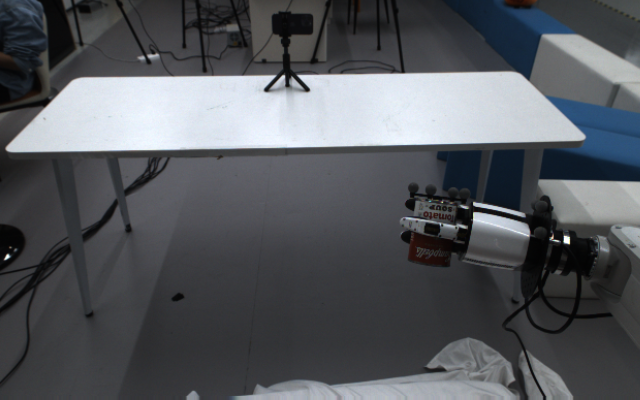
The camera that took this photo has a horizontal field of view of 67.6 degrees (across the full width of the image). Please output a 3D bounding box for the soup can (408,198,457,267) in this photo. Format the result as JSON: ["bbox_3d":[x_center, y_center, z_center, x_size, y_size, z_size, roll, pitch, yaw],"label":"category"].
[{"bbox_3d":[0.180,0.049,0.769,0.067,0.101,0.067,7,3,0],"label":"soup can"}]
